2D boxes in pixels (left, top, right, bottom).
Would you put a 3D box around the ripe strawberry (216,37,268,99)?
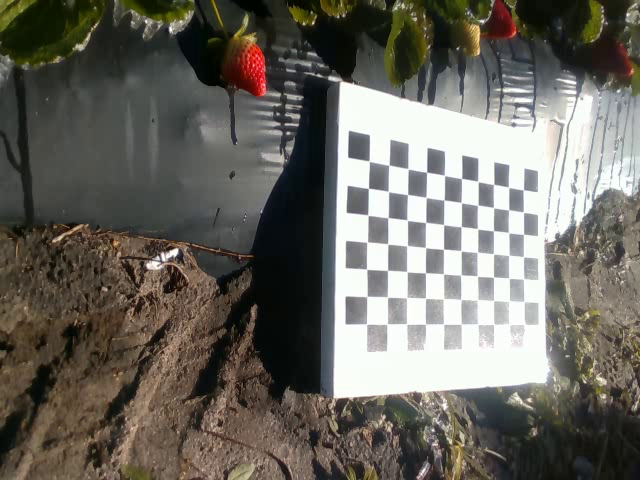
[{"bbox_3d":[-0.054,-0.129,0.487,0.039,0.053,0.040,-22,-7,-34],"label":"ripe strawberry"}]
